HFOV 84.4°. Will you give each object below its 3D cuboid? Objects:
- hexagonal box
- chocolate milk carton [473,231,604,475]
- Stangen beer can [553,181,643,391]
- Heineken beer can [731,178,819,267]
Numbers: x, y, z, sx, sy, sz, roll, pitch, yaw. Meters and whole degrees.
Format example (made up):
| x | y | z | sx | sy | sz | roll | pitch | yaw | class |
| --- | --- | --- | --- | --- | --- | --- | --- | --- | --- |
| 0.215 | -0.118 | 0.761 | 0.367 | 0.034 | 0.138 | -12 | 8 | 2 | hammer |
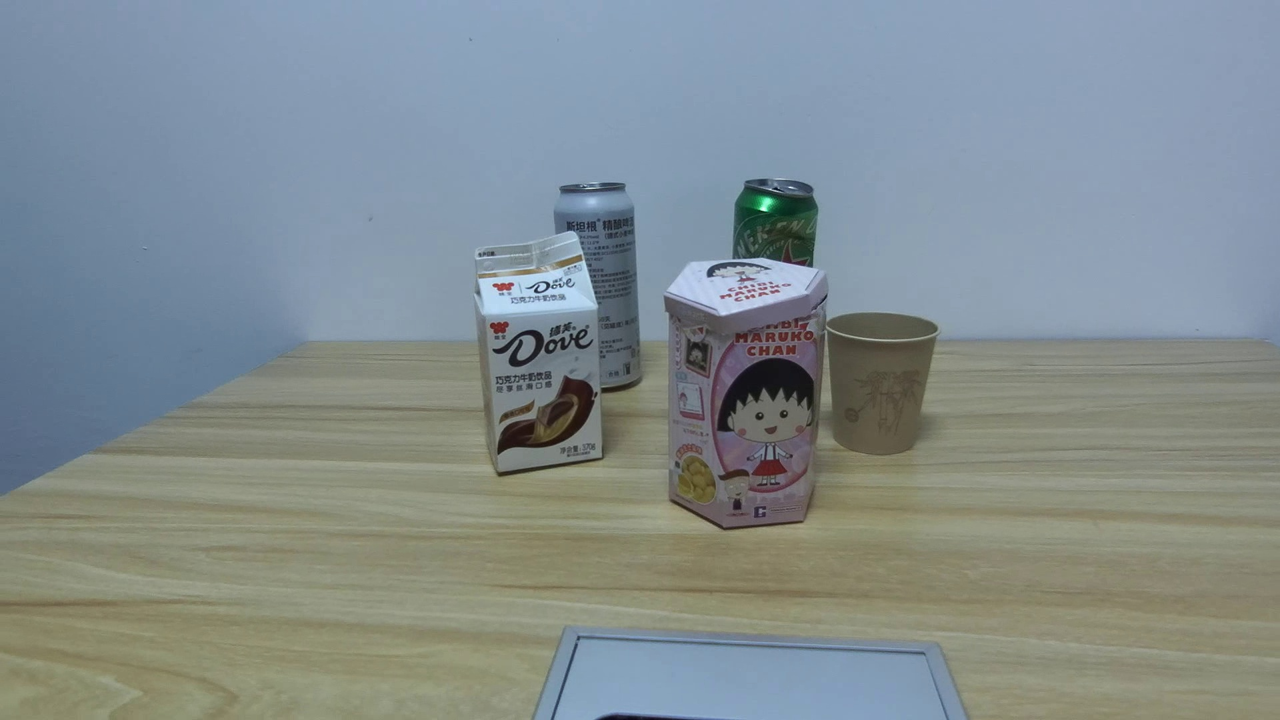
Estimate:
| x | y | z | sx | sy | sz | roll | pitch | yaw | class |
| --- | --- | --- | --- | --- | --- | --- | --- | --- | --- |
| 0.060 | 0.017 | 0.404 | 0.092 | 0.135 | 0.085 | -4 | 19 | -5 | hexagonal box |
| -0.069 | -0.009 | 0.478 | 0.075 | 0.148 | 0.074 | -6 | 18 | -15 | chocolate milk carton |
| -0.035 | -0.059 | 0.597 | 0.067 | 0.171 | 0.067 | -3 | 12 | 1 | Stangen beer can |
| 0.109 | -0.059 | 0.573 | 0.068 | 0.168 | 0.069 | 0 | 18 | 3 | Heineken beer can |
